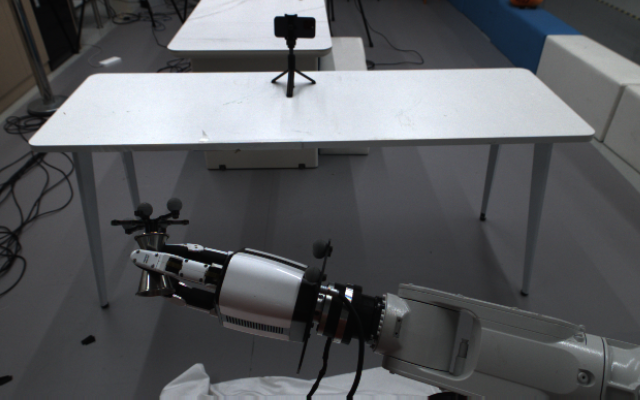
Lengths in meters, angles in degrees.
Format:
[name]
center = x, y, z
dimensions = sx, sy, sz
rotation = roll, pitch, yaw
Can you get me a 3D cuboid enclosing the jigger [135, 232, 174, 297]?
[jigger]
center = -0.193, 0.077, 0.568
dimensions = 0.043, 0.043, 0.071
rotation = -7, 73, -12
